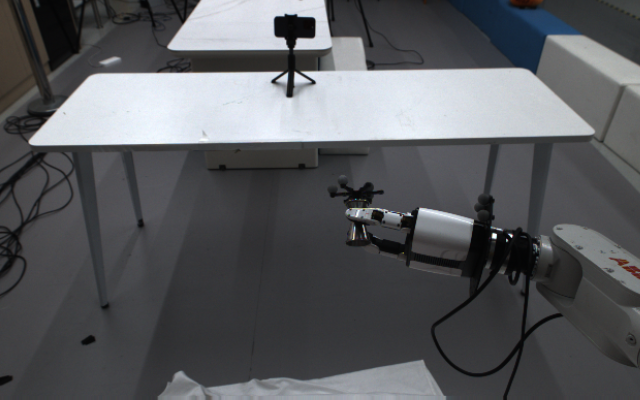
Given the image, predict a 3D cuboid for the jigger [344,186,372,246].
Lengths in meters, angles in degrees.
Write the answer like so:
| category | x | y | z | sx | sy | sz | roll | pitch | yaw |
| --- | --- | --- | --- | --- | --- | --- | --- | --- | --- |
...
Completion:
| category | x | y | z | sx | sy | sz | roll | pitch | yaw |
| --- | --- | --- | --- | --- | --- | --- | --- | --- | --- |
| jigger | 0.060 | 0.034 | 0.776 | 0.043 | 0.043 | 0.071 | 1 | 70 | -2 |
